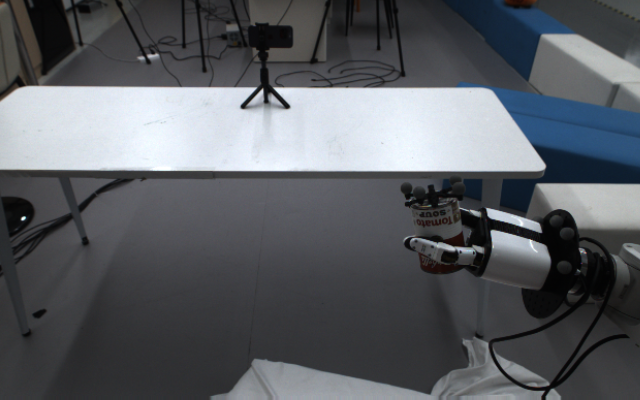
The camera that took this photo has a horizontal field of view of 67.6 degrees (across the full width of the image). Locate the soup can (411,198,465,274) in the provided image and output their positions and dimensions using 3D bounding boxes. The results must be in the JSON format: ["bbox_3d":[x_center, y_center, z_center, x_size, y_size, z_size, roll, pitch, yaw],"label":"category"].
[{"bbox_3d":[0.171,0.044,0.690,0.067,0.101,0.067,-12,17,4],"label":"soup can"}]
